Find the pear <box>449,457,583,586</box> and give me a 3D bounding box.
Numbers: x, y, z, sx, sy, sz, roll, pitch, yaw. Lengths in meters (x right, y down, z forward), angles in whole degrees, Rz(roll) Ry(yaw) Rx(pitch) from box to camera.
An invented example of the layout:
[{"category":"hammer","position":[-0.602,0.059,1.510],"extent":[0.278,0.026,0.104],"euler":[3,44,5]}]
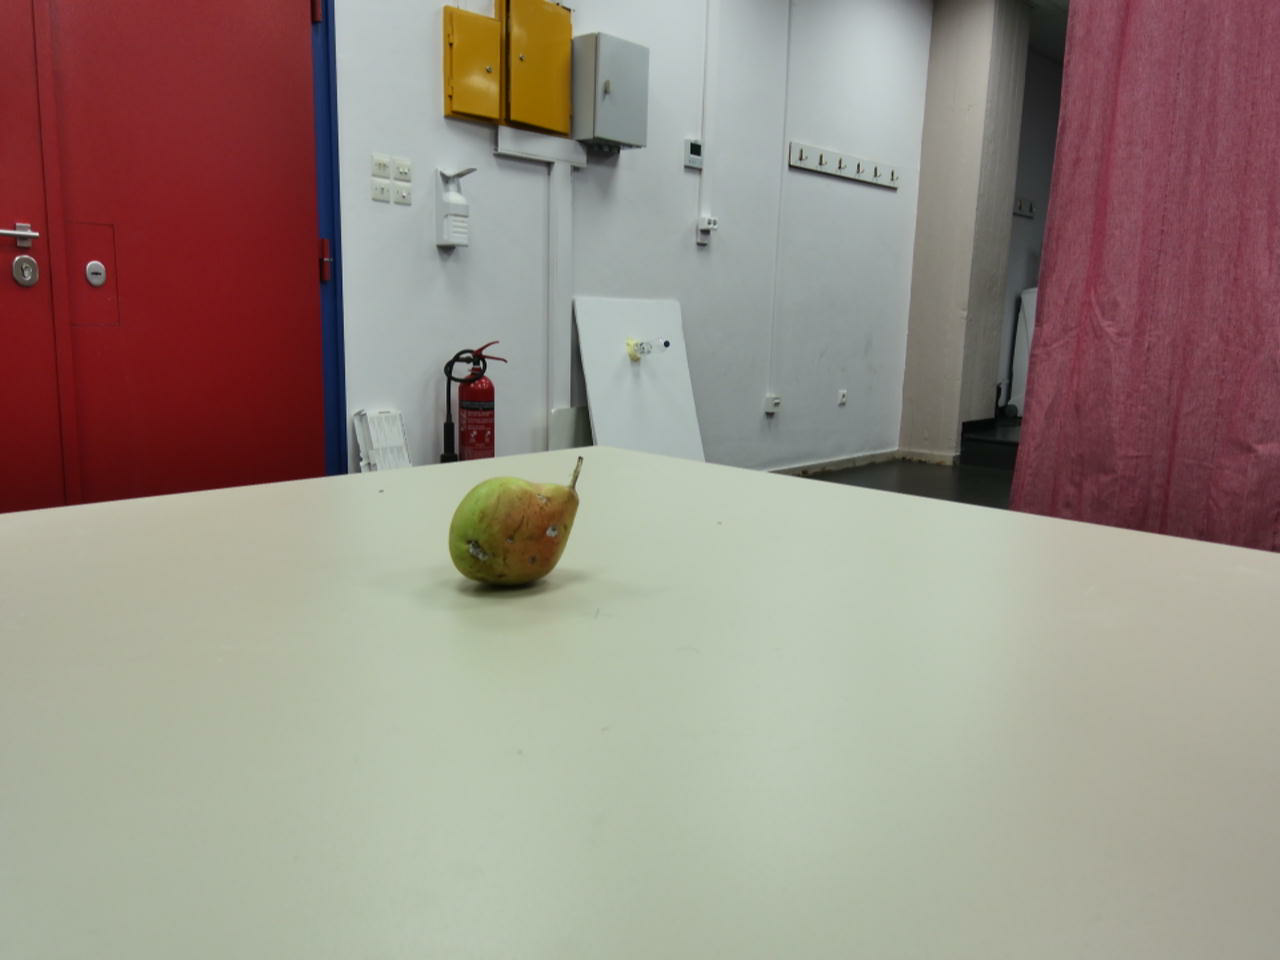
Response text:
[{"category":"pear","position":[-0.072,0.025,0.573],"extent":[0.070,0.069,0.068],"euler":[1,8,4]}]
